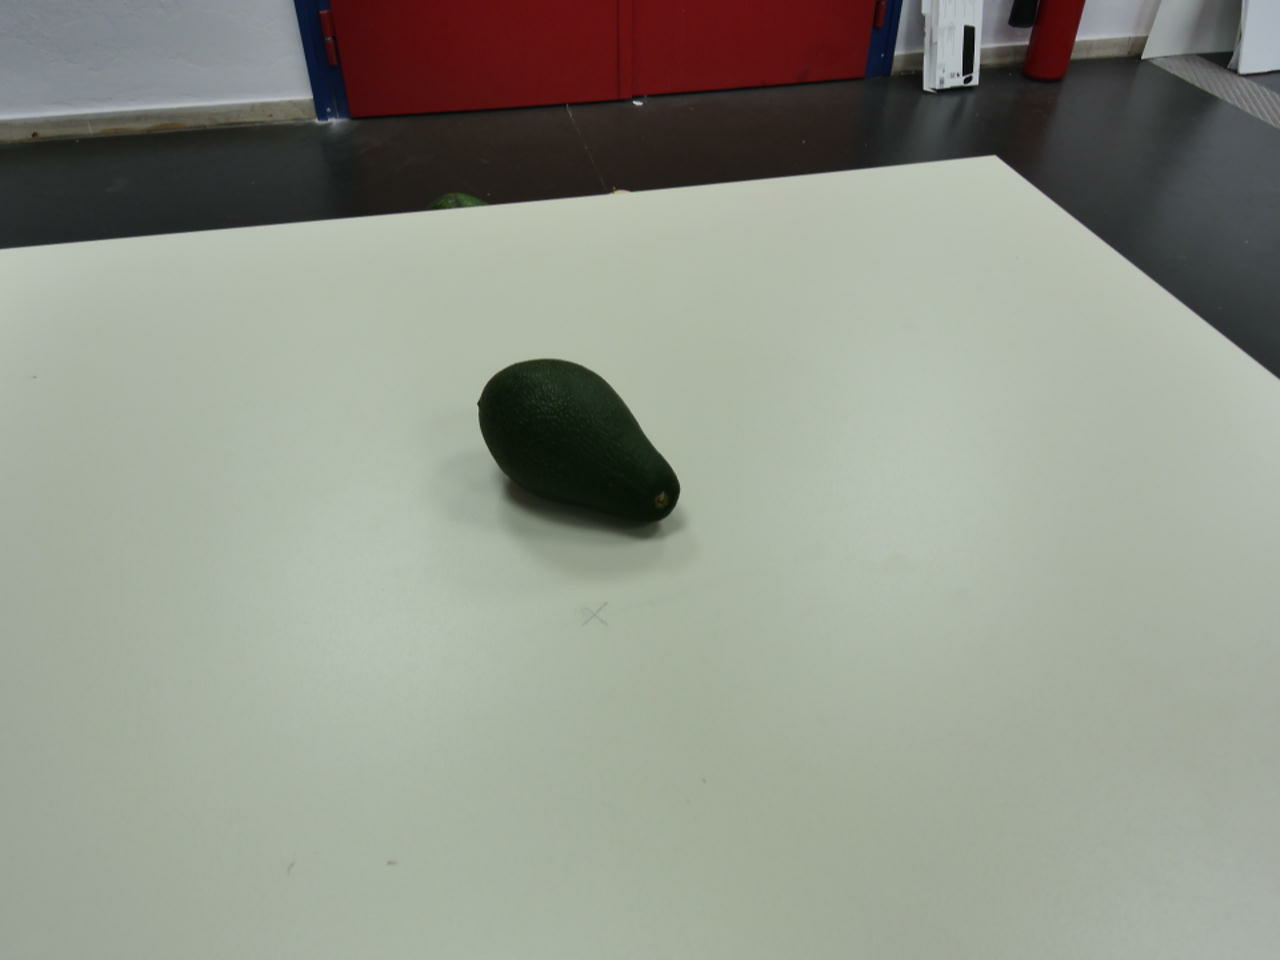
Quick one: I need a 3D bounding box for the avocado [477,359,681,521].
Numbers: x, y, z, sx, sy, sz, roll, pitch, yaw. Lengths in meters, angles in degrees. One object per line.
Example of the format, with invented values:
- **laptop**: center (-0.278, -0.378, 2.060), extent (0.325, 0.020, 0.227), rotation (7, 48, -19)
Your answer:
- **avocado**: center (-0.034, -0.020, 0.512), extent (0.072, 0.071, 0.109), rotation (-25, 45, -27)
